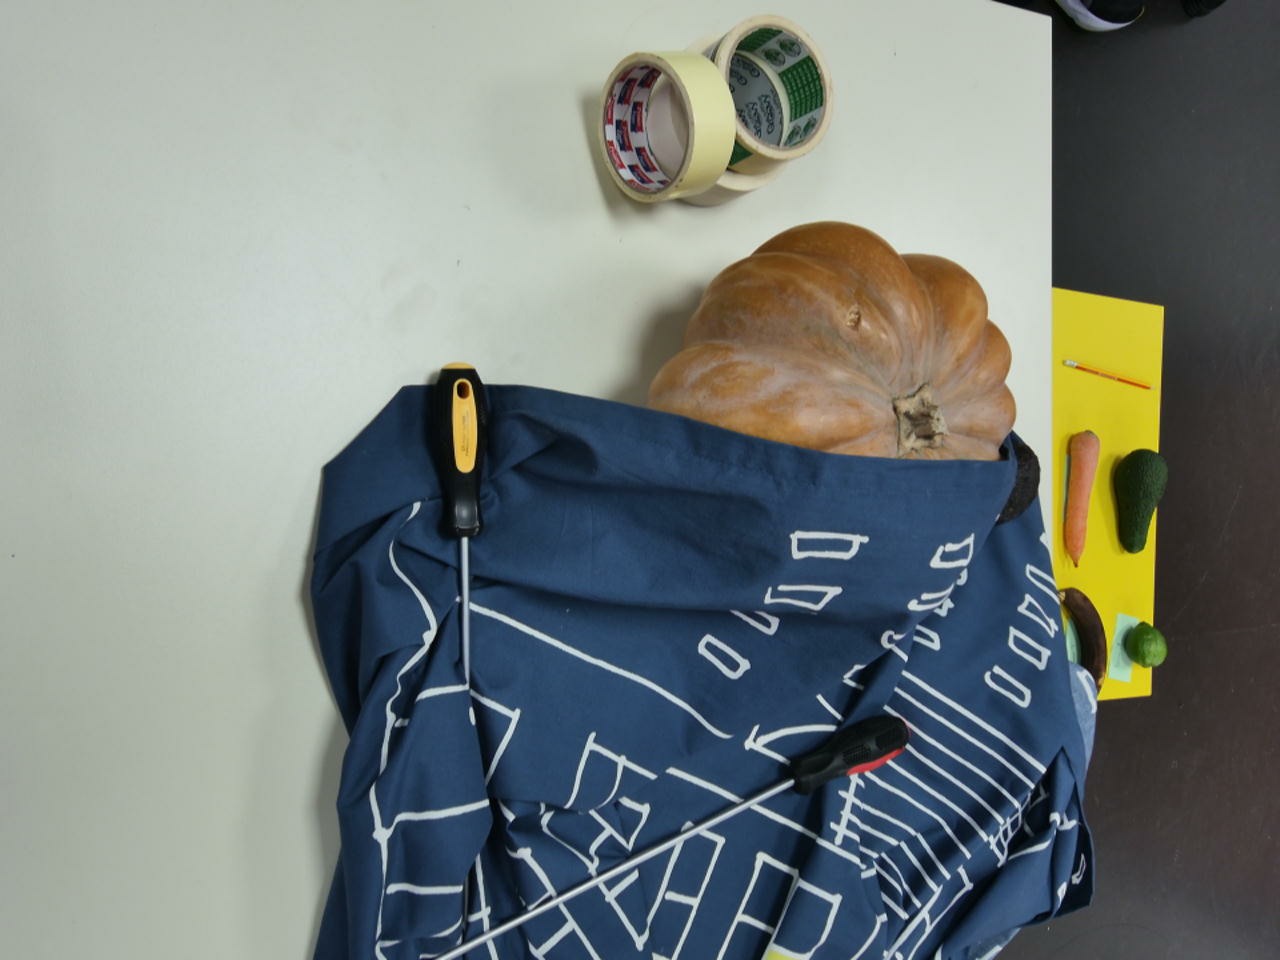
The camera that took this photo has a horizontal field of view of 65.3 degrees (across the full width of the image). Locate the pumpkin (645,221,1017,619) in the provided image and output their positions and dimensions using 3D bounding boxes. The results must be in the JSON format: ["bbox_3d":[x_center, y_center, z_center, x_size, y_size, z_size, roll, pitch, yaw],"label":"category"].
[{"bbox_3d":[0.134,-0.039,0.683,0.277,0.181,0.277,0,91,-29],"label":"pumpkin"}]
